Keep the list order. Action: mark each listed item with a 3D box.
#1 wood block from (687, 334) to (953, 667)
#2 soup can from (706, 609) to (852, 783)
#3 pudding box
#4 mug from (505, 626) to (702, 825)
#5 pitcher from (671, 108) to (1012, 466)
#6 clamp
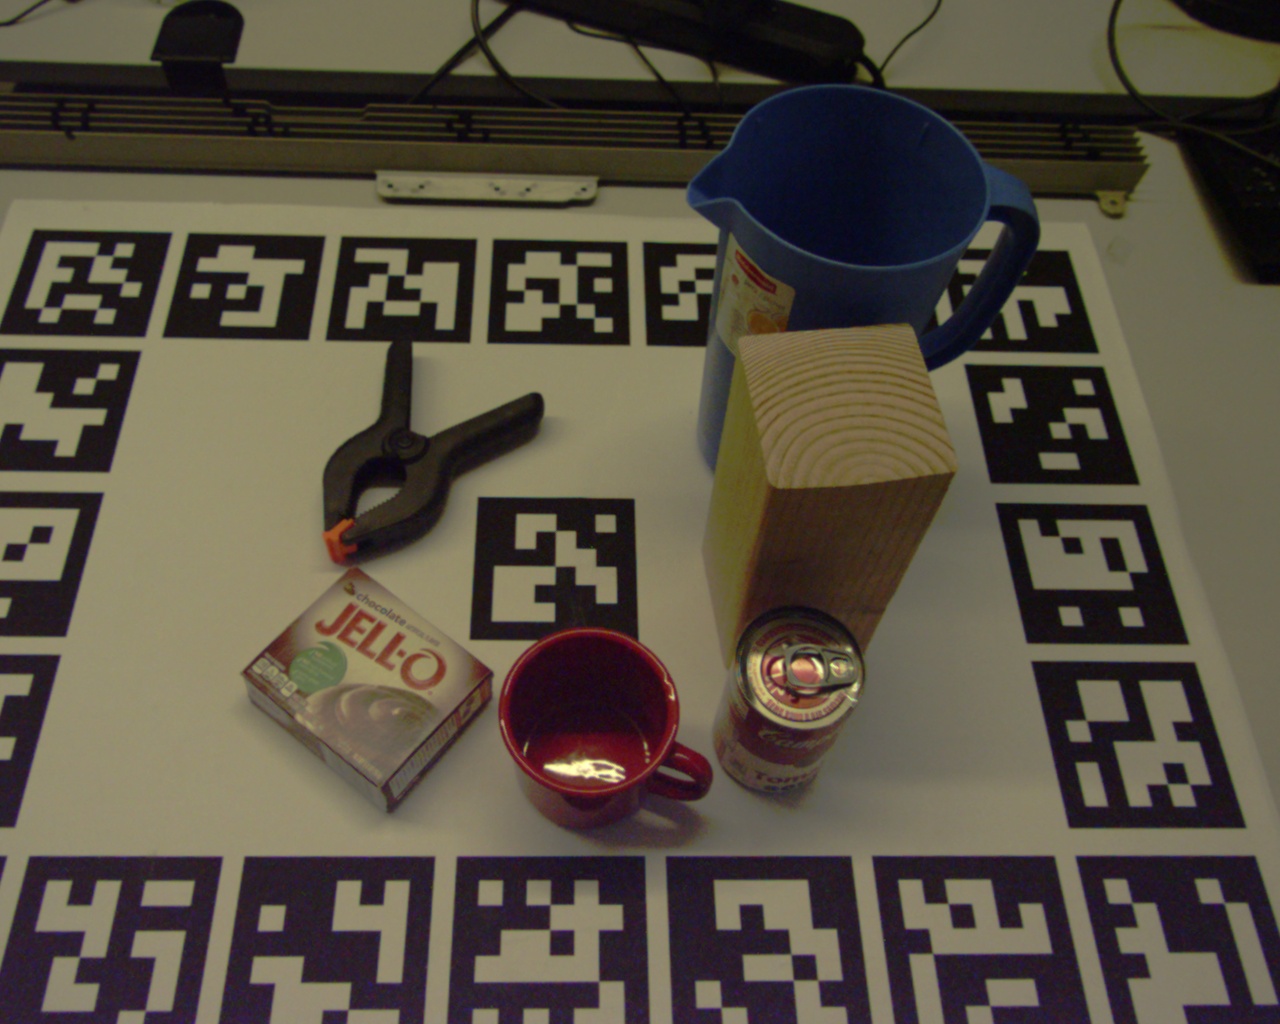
[{"bbox_3d":[0.091,0.002,0.644,0.089,0.206,0.091,-1,58,-8],"label":"wood block"},{"bbox_3d":[0.075,0.106,0.640,0.068,0.102,0.068,1,60,-2],"label":"soup can"},{"bbox_3d":[-0.162,0.103,0.675,0.115,0.038,0.089,32,65,17],"label":"pudding box"},{"bbox_3d":[-0.018,0.130,0.635,0.118,0.081,0.093,30,59,17],"label":"mug"},{"bbox_3d":[0.111,-0.109,0.697,0.189,0.241,0.134,-2,56,-1],"label":"pitcher"},{"bbox_3d":[-0.148,-0.031,0.766,0.122,0.036,0.164,28,61,6],"label":"clamp"}]
